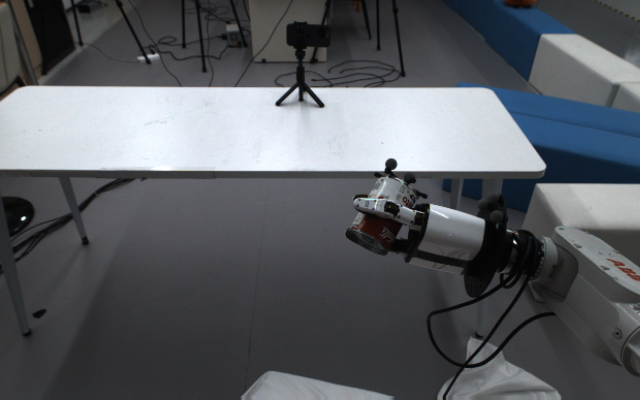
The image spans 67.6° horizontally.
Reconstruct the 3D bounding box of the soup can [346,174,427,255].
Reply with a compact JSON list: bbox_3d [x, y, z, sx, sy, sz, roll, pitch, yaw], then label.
[{"bbox_3d":[0.095,0.022,0.724,0.067,0.067,0.101,22,71,27],"label":"soup can"}]
